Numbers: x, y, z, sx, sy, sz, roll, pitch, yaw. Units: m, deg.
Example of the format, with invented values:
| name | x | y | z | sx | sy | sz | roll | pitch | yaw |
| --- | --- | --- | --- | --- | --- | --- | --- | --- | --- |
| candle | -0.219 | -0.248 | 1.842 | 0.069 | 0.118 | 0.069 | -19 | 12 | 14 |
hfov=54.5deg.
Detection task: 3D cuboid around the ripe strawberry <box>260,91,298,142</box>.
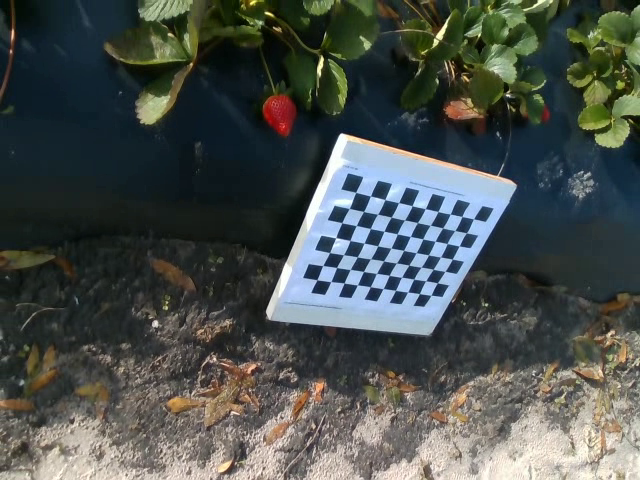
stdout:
| name | x | y | z | sx | sy | sz | roll | pitch | yaw |
| --- | --- | --- | --- | --- | --- | --- | --- | --- | --- |
| ripe strawberry | -0.034 | -0.115 | 0.581 | 0.041 | 0.047 | 0.041 | -11 | -21 | -6 |
